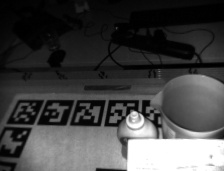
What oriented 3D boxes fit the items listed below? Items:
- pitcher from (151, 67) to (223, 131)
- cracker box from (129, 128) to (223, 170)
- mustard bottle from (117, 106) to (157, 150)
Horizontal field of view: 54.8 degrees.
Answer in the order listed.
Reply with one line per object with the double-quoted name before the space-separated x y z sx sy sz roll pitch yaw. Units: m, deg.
"pitcher" 0.186 0.086 0.472 0.187 0.245 0.133 1 51 17
"cracker box" 0.130 0.170 0.420 0.163 0.216 0.071 -6 48 12
"mustard bottle" 0.058 0.100 0.505 0.095 0.193 0.058 8 54 20
